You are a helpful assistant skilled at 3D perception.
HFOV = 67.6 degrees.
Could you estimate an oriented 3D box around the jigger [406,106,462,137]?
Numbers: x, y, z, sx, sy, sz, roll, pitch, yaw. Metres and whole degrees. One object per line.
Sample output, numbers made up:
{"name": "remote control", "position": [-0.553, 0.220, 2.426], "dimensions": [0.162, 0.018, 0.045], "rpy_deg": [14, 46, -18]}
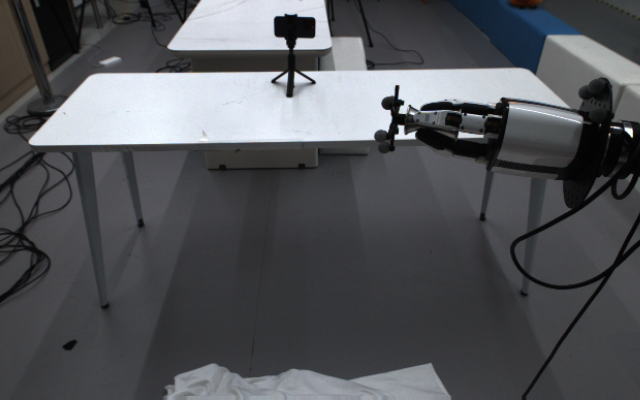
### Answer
{"name": "jigger", "position": [0.154, -0.106, 0.635], "dimensions": [0.071, 0.043, 0.043], "rpy_deg": [8, 35, 16]}
